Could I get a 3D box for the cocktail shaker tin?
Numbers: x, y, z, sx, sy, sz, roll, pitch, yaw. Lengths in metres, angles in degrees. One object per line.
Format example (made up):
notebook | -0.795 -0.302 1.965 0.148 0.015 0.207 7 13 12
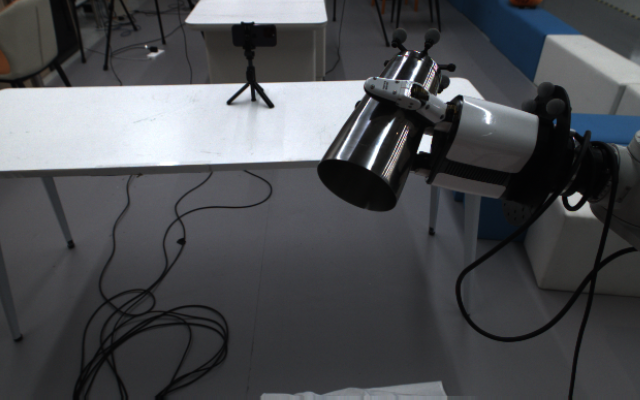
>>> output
cocktail shaker tin | 0.078 -0.085 0.536 0.093 0.093 0.170 18 66 21
